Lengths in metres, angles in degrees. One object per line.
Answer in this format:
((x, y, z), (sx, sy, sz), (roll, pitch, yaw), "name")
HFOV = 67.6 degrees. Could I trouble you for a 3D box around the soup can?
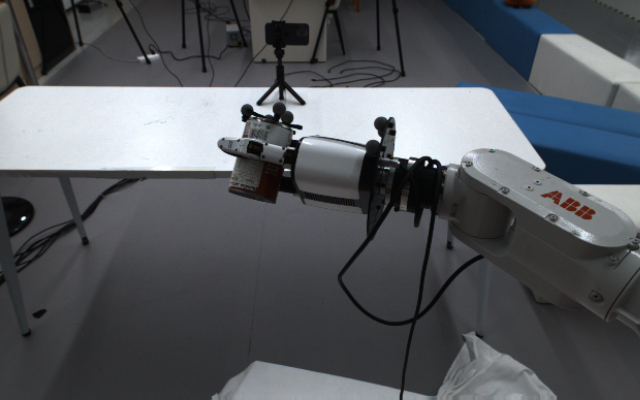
((-0.079, -0.052, 0.653), (0.067, 0.101, 0.067), (13, -6, 1), "soup can")
